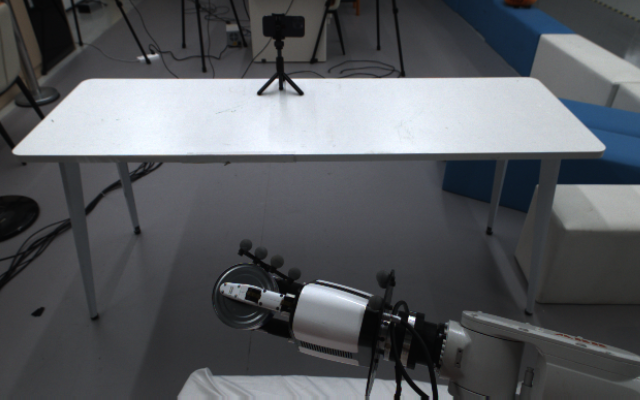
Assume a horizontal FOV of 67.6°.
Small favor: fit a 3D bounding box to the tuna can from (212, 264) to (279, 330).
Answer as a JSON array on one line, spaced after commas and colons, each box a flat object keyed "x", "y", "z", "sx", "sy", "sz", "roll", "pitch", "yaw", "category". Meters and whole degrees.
[{"x": -0.096, "y": 0.129, "z": 0.644, "sx": 0.085, "sy": 0.034, "sz": 0.085, "roll": -2, "pitch": 71, "yaw": 6, "category": "tuna can"}]
